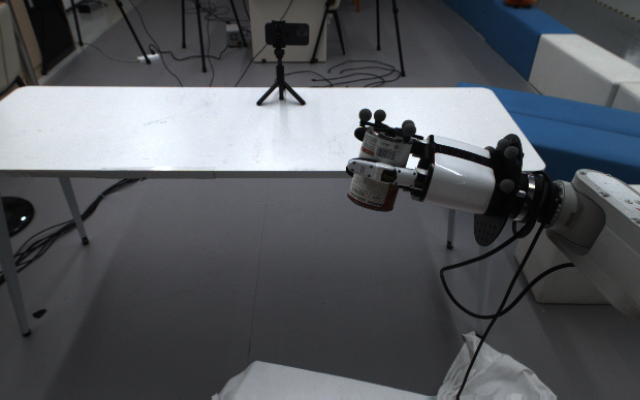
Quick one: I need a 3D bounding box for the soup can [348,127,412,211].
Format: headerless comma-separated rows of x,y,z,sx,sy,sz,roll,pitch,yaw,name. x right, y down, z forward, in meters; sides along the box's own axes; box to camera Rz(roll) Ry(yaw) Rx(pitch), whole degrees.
0.083,-0.044,0.671,0.067,0.101,0.067,13,18,-4,soup can
